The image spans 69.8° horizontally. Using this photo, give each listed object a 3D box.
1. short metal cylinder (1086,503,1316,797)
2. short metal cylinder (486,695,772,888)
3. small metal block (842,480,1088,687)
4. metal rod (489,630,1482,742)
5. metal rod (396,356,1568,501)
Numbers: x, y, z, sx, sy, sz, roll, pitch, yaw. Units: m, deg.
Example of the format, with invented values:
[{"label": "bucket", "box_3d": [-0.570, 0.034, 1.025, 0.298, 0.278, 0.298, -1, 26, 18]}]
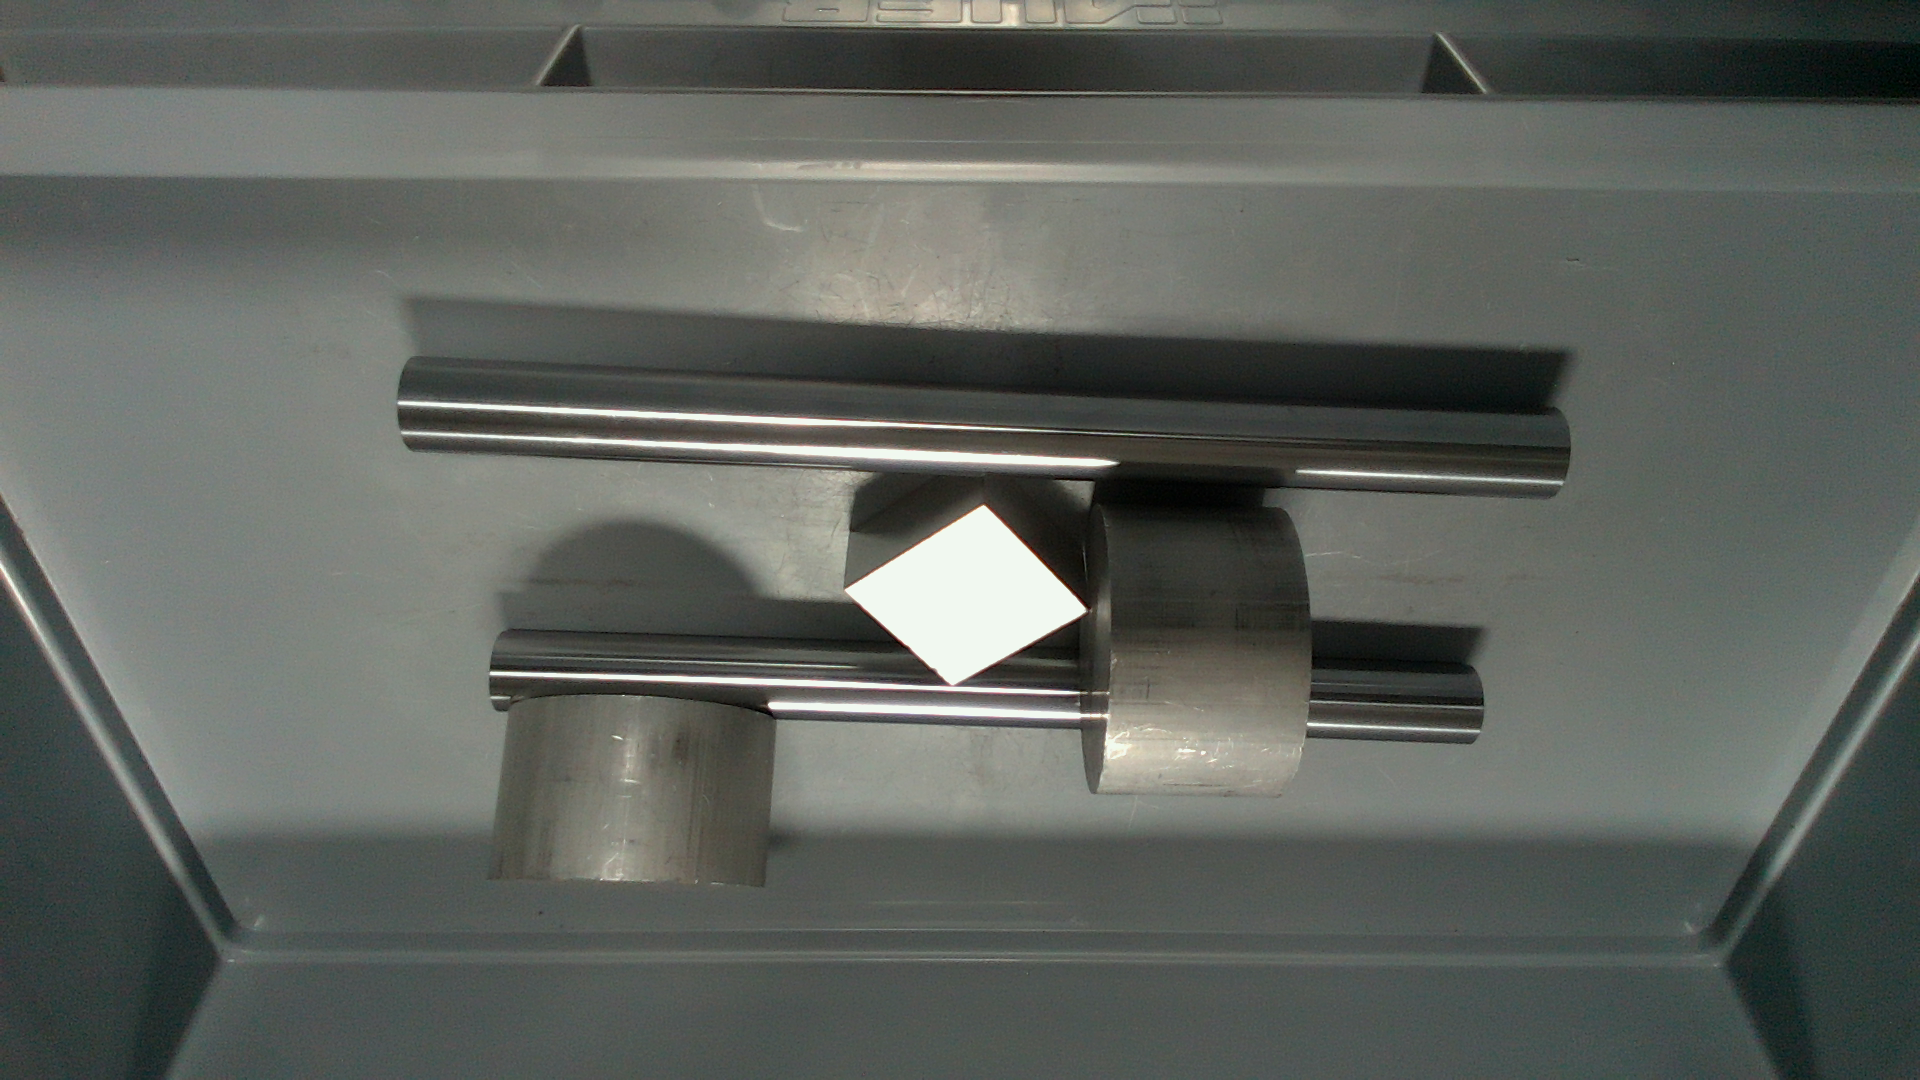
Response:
[{"label": "short metal cylinder", "box_3d": [0.062, 0.030, 0.379, 0.050, 0.080, 0.080, 1, 130, -1]}, {"label": "short metal cylinder", "box_3d": [-0.098, 0.078, 0.415, 0.080, 0.050, 0.080, 1, 164, 1]}, {"label": "small metal block", "box_3d": [0.002, 0.009, 0.397, 0.050, 0.025, 0.050, -31, 124, 23]}, {"label": "metal rod", "box_3d": [0.009, 0.046, 0.427, 0.300, 0.025, 0.025, 2, 130, -2]}, {"label": "metal rod", "box_3d": [0.008, -0.029, 0.364, 0.300, 0.025, 0.025, 2, 130, -2]}]
